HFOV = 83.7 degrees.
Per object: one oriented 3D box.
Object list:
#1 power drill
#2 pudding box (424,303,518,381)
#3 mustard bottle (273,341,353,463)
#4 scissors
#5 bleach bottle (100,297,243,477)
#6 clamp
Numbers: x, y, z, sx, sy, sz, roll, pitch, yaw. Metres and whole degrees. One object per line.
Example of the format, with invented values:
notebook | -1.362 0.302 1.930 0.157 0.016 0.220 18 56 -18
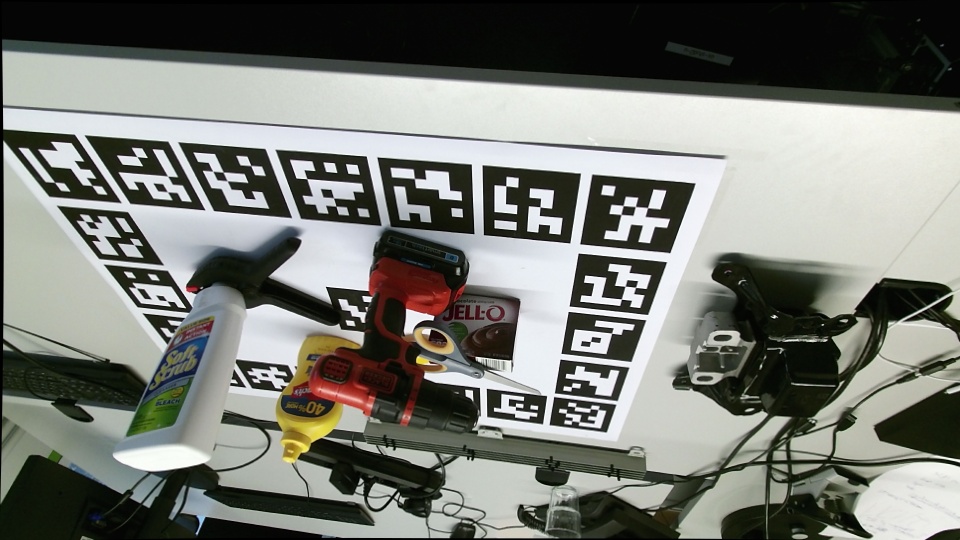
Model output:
power drill | -0.081 0.086 0.606 0.185 0.186 0.057 13 144 -6
pudding box | -0.011 0.095 0.714 0.114 0.089 0.039 9 143 3
mustard bottle | -0.257 0.199 0.807 0.096 0.190 0.058 16 137 -3
scissors | -0.011 0.146 0.674 0.203 0.016 0.088 26 131 -9
bleach bottle | -0.372 0.126 0.685 0.103 0.249 0.068 -13 136 14
clamp | -0.323 0.044 0.741 0.203 0.036 0.165 2 134 12
